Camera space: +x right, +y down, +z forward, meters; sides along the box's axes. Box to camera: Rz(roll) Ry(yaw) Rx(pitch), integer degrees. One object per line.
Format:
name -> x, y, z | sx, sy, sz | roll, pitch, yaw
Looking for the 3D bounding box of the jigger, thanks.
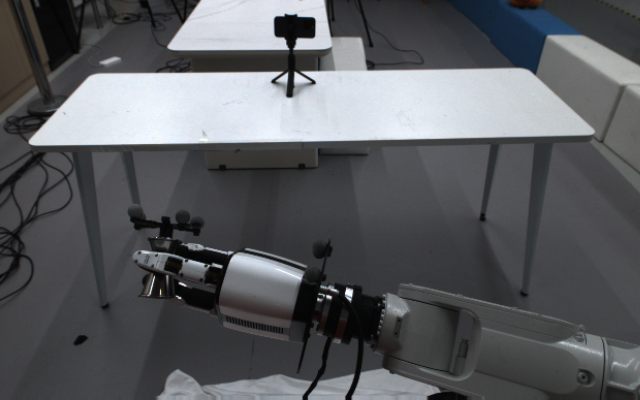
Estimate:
jigger -> -0.185, 0.080, 0.565 | 0.043, 0.043, 0.071 | 3, 76, 1
